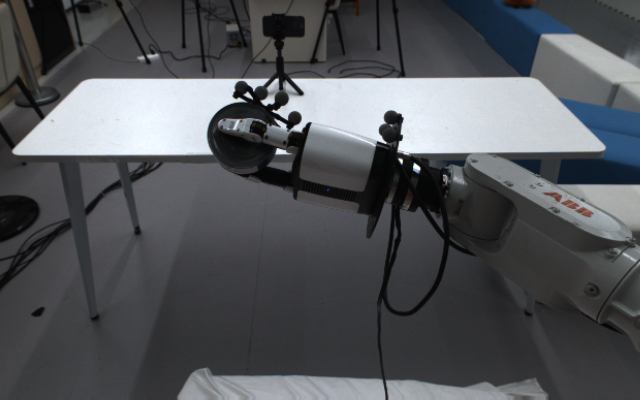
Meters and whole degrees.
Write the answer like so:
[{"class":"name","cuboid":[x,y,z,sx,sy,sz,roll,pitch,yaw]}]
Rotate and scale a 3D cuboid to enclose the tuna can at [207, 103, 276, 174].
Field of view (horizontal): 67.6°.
[{"class":"tuna can","cuboid":[-0.095,-0.077,0.609,0.085,0.034,0.085,1,76,-4]}]
